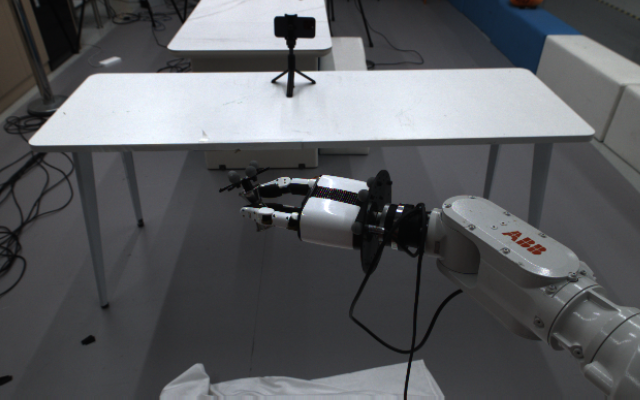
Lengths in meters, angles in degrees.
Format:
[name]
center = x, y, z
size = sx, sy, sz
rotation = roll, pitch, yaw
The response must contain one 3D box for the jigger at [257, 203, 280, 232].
[jigger]
center = -0.096, 0.010, 0.786
size = 0.043, 0.071, 0.043
rotation = -26, 14, 7
